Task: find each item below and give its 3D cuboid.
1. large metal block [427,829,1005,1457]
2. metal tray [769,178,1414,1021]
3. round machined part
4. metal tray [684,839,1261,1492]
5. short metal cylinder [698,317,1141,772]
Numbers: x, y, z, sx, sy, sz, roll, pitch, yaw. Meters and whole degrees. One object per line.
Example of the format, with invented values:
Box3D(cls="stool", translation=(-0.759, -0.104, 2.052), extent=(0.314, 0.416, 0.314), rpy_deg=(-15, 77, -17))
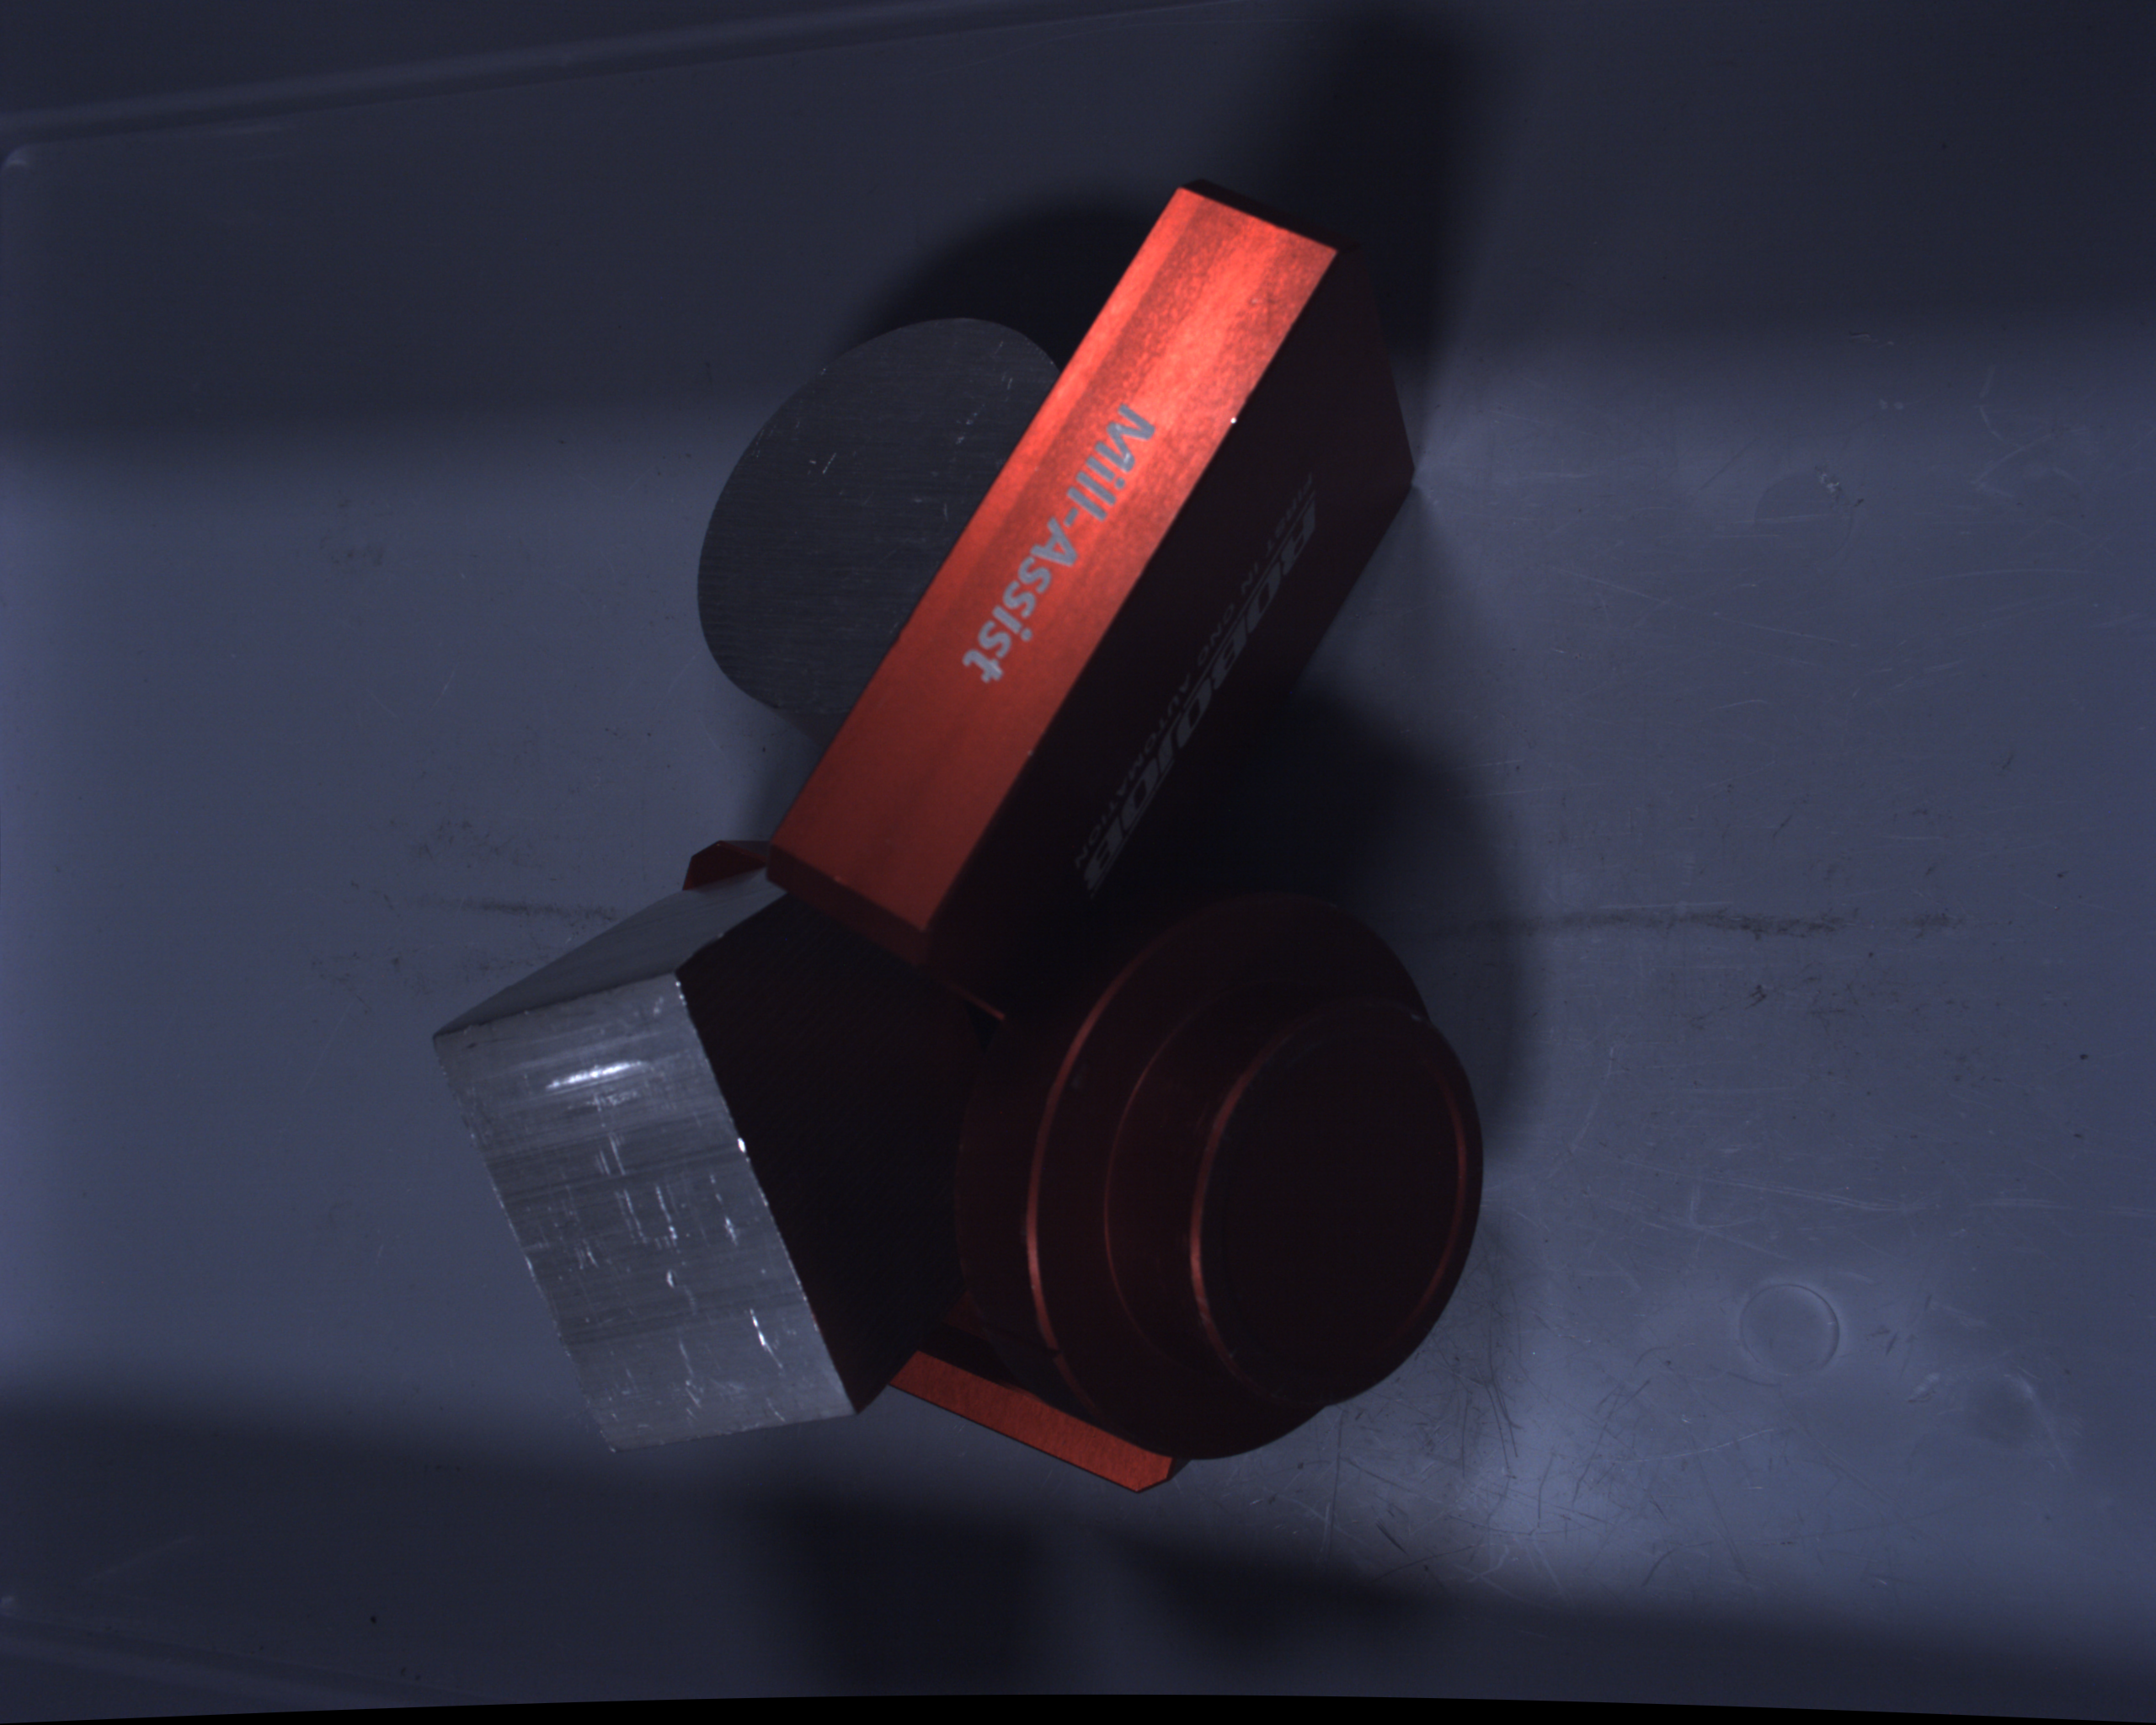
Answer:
Box3D(cls="large metal block", translation=(-0.057, 0.047, 0.374), extent=(0.050, 0.080, 0.080), rpy_deg=(-16, 101, 25))
Box3D(cls="metal tray", translation=(0.008, -0.036, 0.354), extent=(0.030, 0.090, 0.130), rpy_deg=(28, 84, 20))
Box3D(cls="round machined part", translation=(0.031, 0.054, 0.355), extent=(0.042, 0.099, 0.097), rpy_deg=(8, 93, 50))
Box3D(cls="metal tray", translation=(-0.026, 0.056, 0.413), extent=(0.130, 0.030, 0.089), rpy_deg=(18, 96, 19))
Box3D(cls="short metal cylinder", translation=(-0.023, -0.053, 0.387), extent=(0.080, 0.050, 0.080), rpy_deg=(-13, 61, 26))
